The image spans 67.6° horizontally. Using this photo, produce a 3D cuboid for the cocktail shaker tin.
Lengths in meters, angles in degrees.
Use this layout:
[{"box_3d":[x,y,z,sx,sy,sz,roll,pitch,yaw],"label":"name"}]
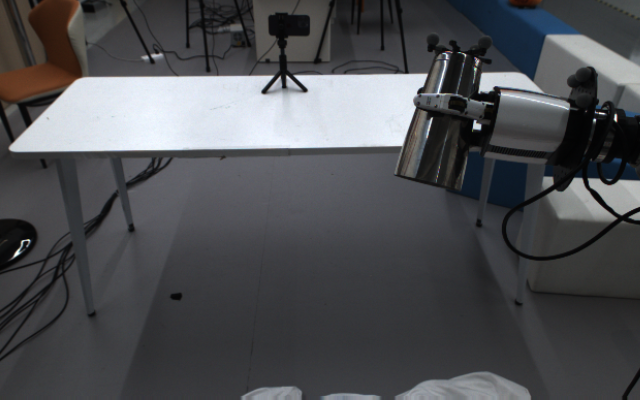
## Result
[{"box_3d":[0.165,-0.107,0.653,0.093,0.170,0.093,14,2,0],"label":"cocktail shaker tin"}]
